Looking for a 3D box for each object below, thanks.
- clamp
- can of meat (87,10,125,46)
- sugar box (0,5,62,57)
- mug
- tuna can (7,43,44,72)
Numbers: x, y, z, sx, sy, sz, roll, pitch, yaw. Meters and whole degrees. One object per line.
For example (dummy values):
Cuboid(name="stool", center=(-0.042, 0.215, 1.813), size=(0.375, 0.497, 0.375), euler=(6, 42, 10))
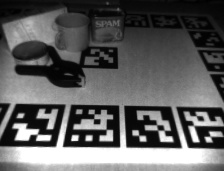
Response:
Cuboid(name="clamp", center=(-0.134, -0.019, 0.496), size=(0.164, 0.036, 0.122), euler=(30, 47, 17))
Cuboid(name="can of meat", center=(-0.018, -0.161, 0.611), size=(0.102, 0.084, 0.057), euler=(-5, 45, -10))
Cuboid(name="sugar box", center=(-0.210, -0.141, 0.569), size=(0.178, 0.093, 0.045), euler=(-28, 52, -30))
Cuboid(name="mug", center=(-0.117, -0.132, 0.563), size=(0.092, 0.082, 0.117), euler=(20, 49, 14))
Cuboid(name="tuna can", center=(-0.212, -0.063, 0.525), size=(0.086, 0.034, 0.085), euler=(2, 48, -2))
